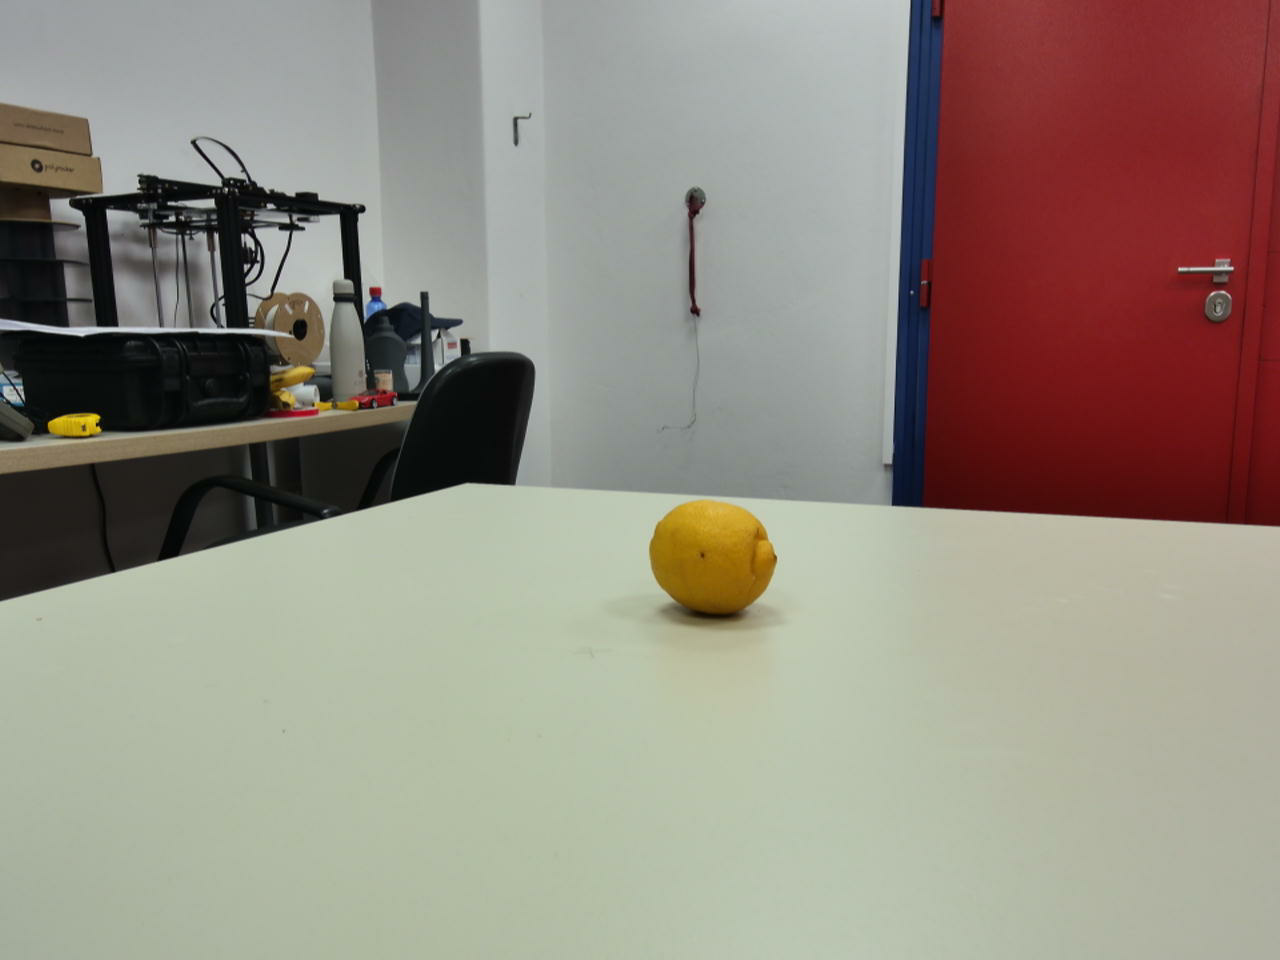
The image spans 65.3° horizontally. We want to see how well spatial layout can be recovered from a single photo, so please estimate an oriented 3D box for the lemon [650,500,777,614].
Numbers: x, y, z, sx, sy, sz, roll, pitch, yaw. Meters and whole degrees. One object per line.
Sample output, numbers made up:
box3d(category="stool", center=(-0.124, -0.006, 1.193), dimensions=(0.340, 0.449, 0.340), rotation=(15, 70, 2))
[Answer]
box3d(category="lemon", center=(0.038, 0.041, 0.533), dimensions=(0.061, 0.059, 0.067), rotation=(-2, 6, -24))
